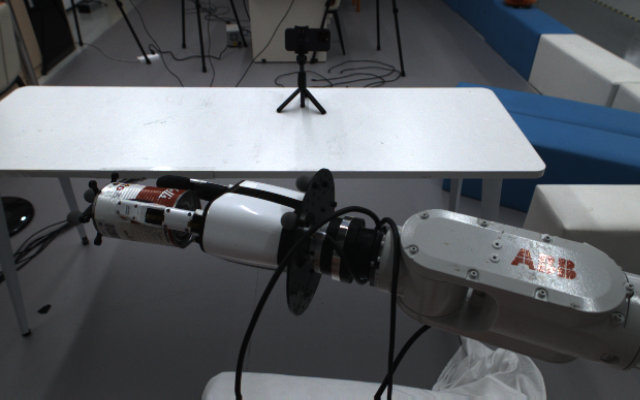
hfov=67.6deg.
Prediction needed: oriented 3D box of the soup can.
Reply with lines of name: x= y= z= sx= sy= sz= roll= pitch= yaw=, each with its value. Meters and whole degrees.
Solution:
soup can: x=-0.197 y=0.018 z=0.563 sx=0.101 sy=0.067 sz=0.067 roll=6 pitch=35 yaw=11
